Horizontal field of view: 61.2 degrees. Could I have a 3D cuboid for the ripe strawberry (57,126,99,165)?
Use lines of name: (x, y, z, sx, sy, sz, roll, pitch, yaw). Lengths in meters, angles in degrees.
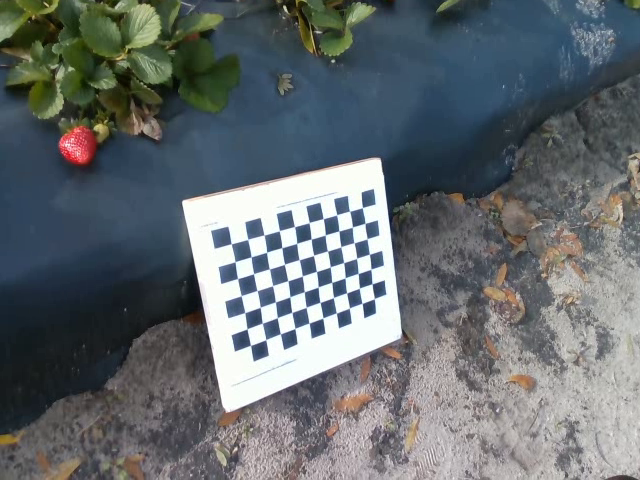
ripe strawberry: (-0.275, -0.104, 0.615, 0.045, 0.058, 0.051, -13, -36, -30)
